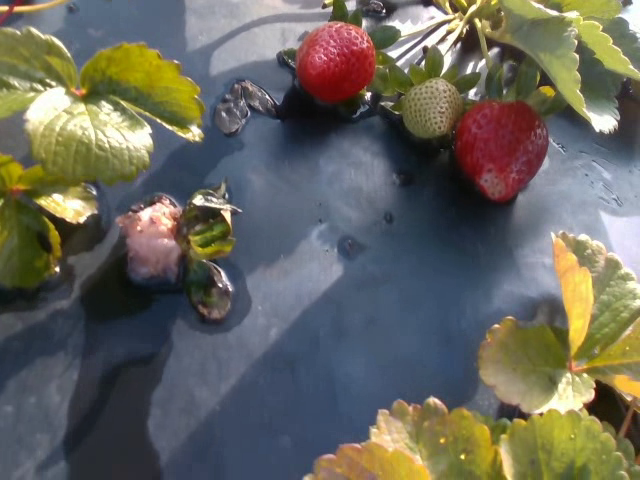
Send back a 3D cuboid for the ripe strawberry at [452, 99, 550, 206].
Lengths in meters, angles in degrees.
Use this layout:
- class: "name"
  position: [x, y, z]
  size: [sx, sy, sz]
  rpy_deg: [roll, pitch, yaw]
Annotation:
- class: "ripe strawberry"
  position: [0.086, -0.041, 0.308]
  size: [0.048, 0.065, 0.050]
  rpy_deg: [-4, -36, 35]
